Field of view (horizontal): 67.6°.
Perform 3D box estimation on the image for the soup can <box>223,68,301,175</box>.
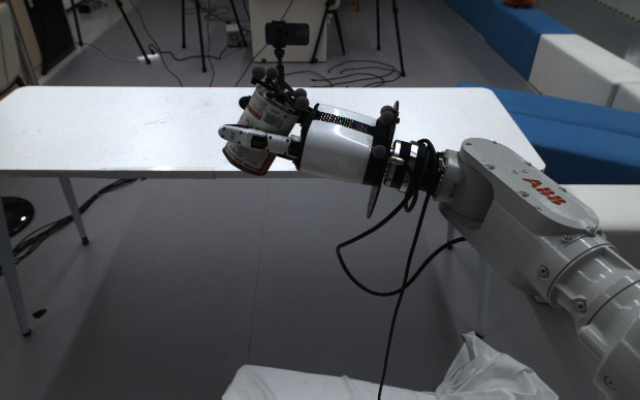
[{"bbox_3d":[-0.076,-0.091,0.642,0.067,0.101,0.067,28,22,-12],"label":"soup can"}]
